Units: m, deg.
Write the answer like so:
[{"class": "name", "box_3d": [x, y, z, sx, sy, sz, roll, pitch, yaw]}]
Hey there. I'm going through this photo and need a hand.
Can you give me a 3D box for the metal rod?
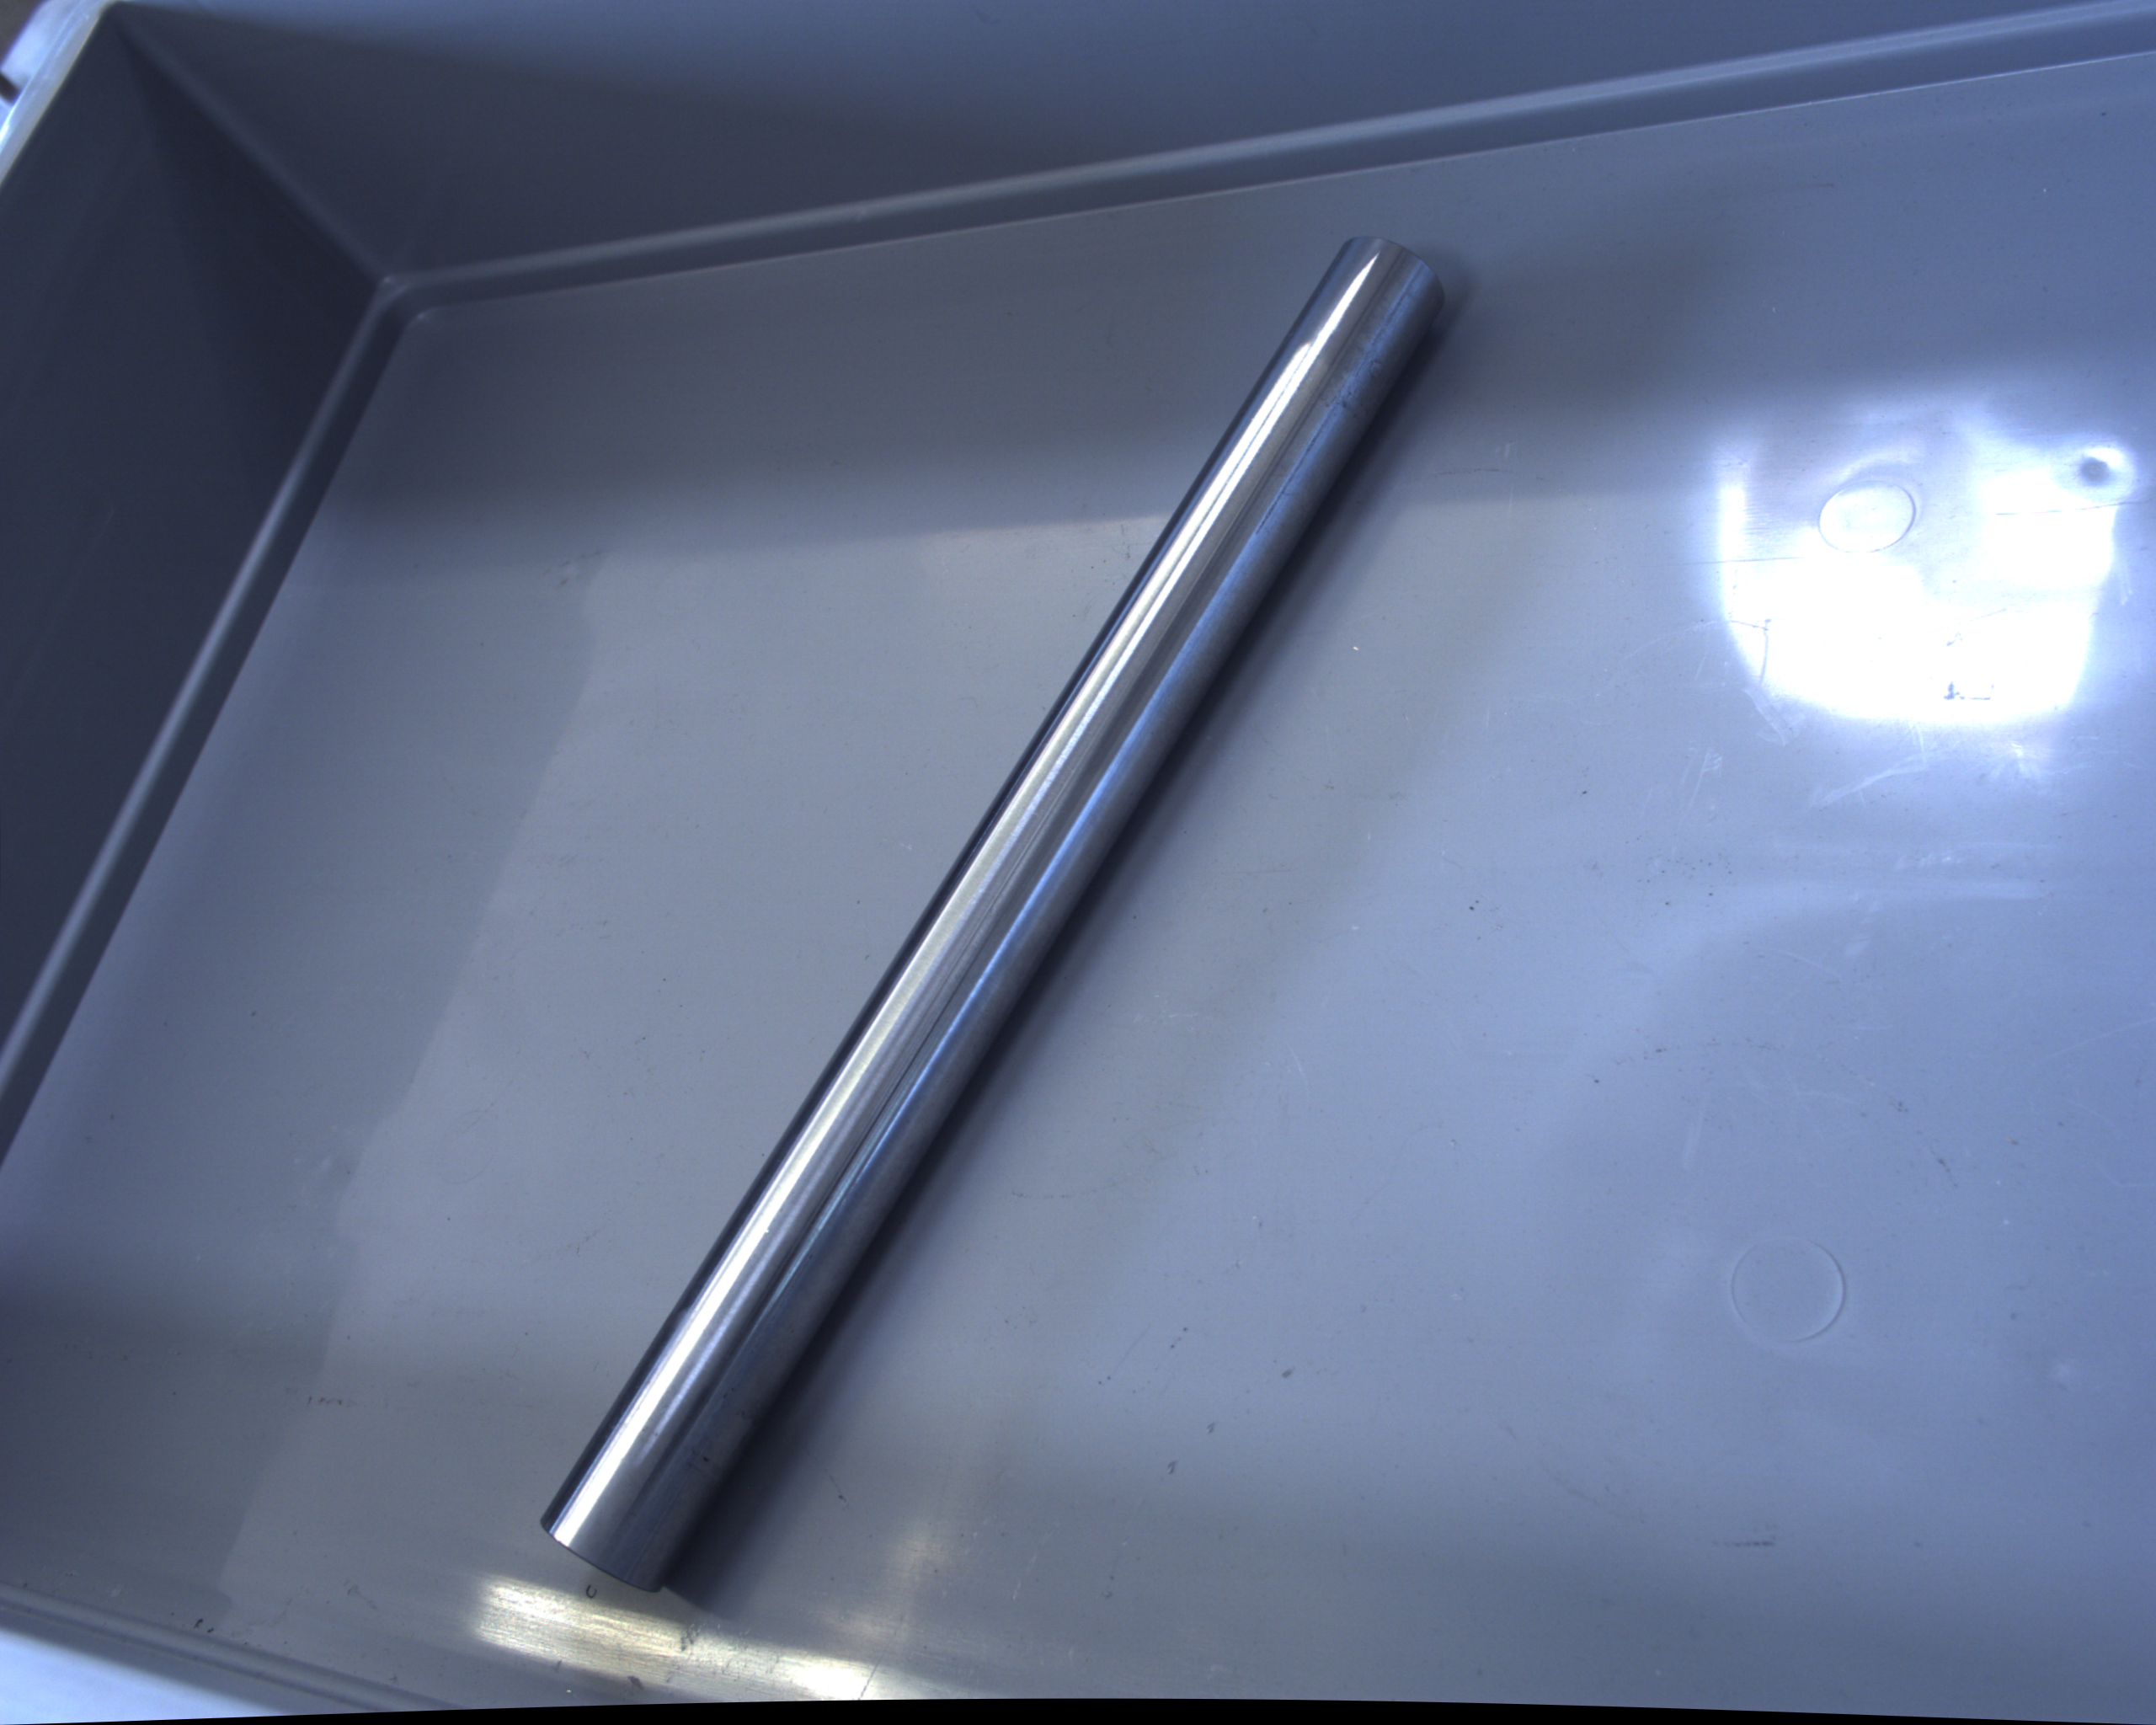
[{"class": "metal rod", "box_3d": [-0.010, -0.001, 0.409, 0.025, 0.025, 0.300, 22, 73, 36]}]
